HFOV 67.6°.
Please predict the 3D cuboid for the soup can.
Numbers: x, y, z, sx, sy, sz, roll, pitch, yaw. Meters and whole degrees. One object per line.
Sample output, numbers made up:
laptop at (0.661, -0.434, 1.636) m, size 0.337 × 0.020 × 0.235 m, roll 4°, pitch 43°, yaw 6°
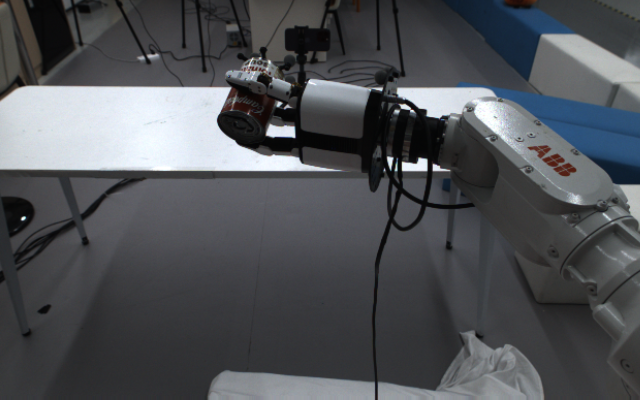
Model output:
soup can at (-0.093, -0.137, 0.669) m, size 0.067 × 0.067 × 0.101 m, roll 9°, pitch 60°, yaw 10°
